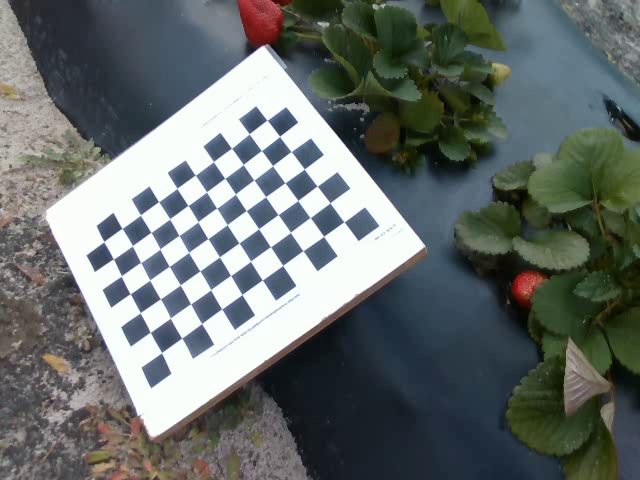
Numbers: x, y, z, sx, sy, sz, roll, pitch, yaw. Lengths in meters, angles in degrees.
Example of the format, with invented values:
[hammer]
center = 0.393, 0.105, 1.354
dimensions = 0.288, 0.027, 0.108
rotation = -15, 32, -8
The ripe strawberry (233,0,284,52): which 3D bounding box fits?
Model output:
[ripe strawberry]
center = -0.066, -0.249, 0.697
dimensions = 0.057, 0.056, 0.064
rotation = 7, -16, 36
